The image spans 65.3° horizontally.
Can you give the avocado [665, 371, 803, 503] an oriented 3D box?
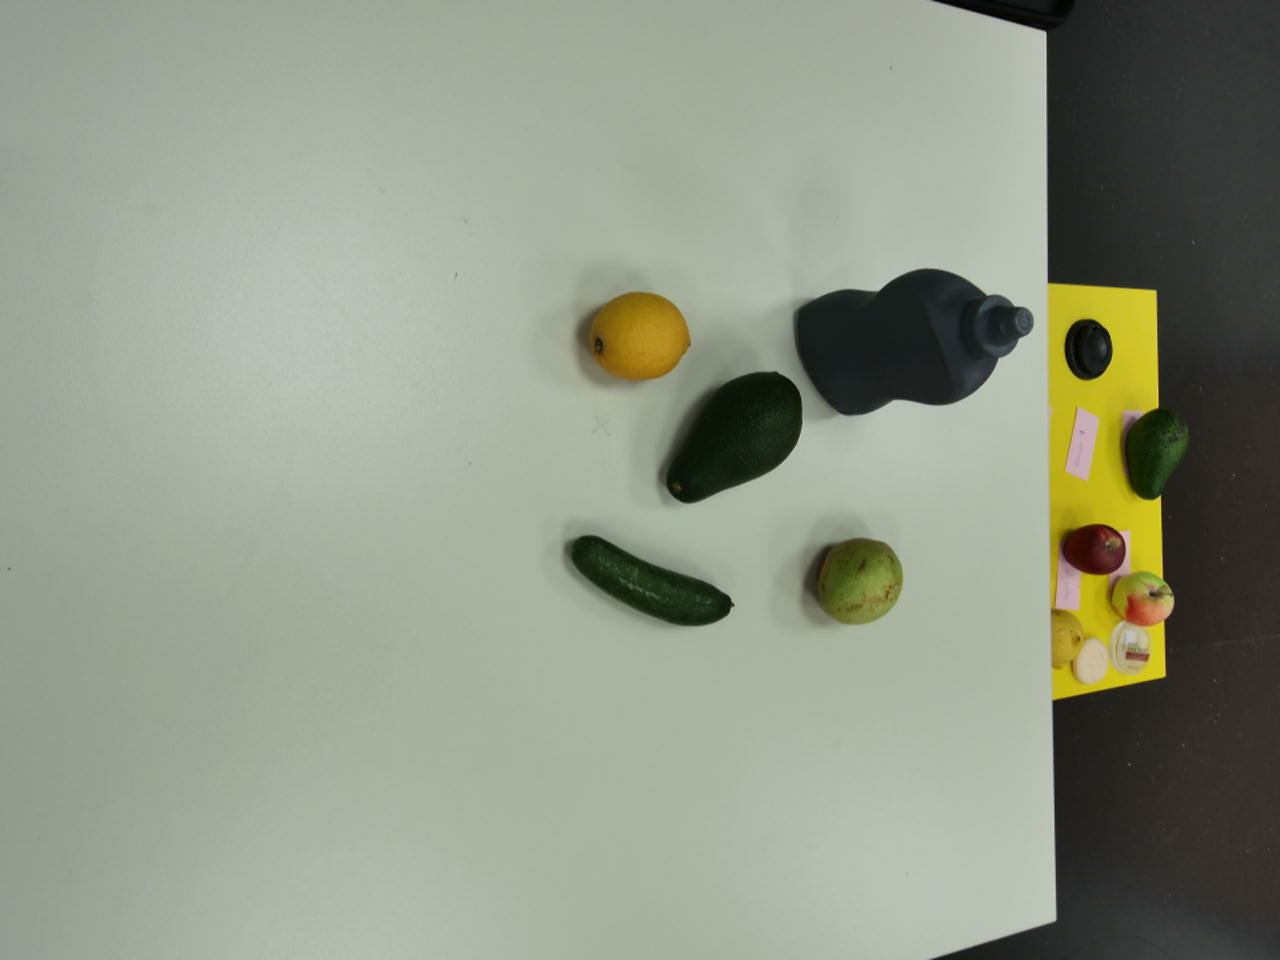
[{"bbox_3d":[0.066,-0.032,0.707,0.109,0.071,0.072,-26,102,-25],"label":"avocado"}]
